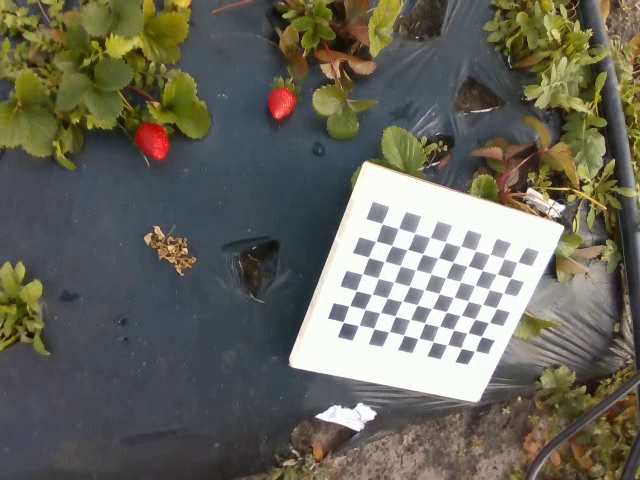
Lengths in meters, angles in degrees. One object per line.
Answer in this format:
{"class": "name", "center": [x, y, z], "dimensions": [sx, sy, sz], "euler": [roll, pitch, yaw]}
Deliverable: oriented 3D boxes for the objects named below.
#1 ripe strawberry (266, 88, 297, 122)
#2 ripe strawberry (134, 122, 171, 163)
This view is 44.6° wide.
{"class": "ripe strawberry", "center": [-0.047, -0.159, 0.920], "dimensions": [0.042, 0.052, 0.045], "euler": [-15, -41, 36]}
{"class": "ripe strawberry", "center": [-0.190, -0.106, 0.877], "dimensions": [0.051, 0.046, 0.050], "euler": [14, 35, -33]}
